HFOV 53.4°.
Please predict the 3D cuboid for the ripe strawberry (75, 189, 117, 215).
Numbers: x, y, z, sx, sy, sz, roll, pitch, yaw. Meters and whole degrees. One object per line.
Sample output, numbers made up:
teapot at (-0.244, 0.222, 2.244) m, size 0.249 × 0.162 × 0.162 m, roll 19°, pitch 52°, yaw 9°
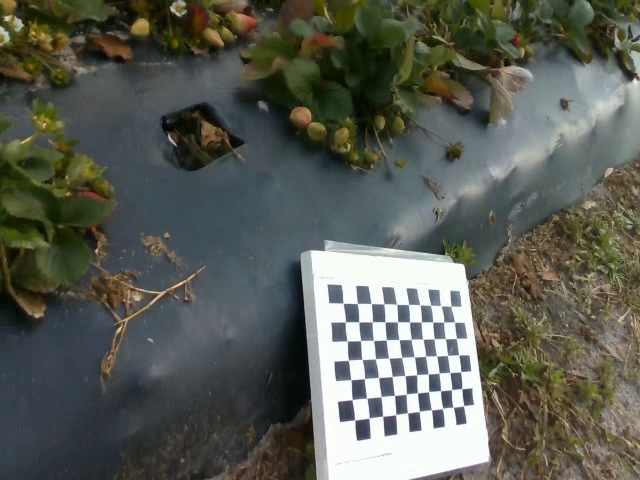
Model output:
ripe strawberry at (-0.233, -0.034, 0.654) m, size 0.046 × 0.043 × 0.047 m, roll -6°, pitch -15°, yaw -10°
